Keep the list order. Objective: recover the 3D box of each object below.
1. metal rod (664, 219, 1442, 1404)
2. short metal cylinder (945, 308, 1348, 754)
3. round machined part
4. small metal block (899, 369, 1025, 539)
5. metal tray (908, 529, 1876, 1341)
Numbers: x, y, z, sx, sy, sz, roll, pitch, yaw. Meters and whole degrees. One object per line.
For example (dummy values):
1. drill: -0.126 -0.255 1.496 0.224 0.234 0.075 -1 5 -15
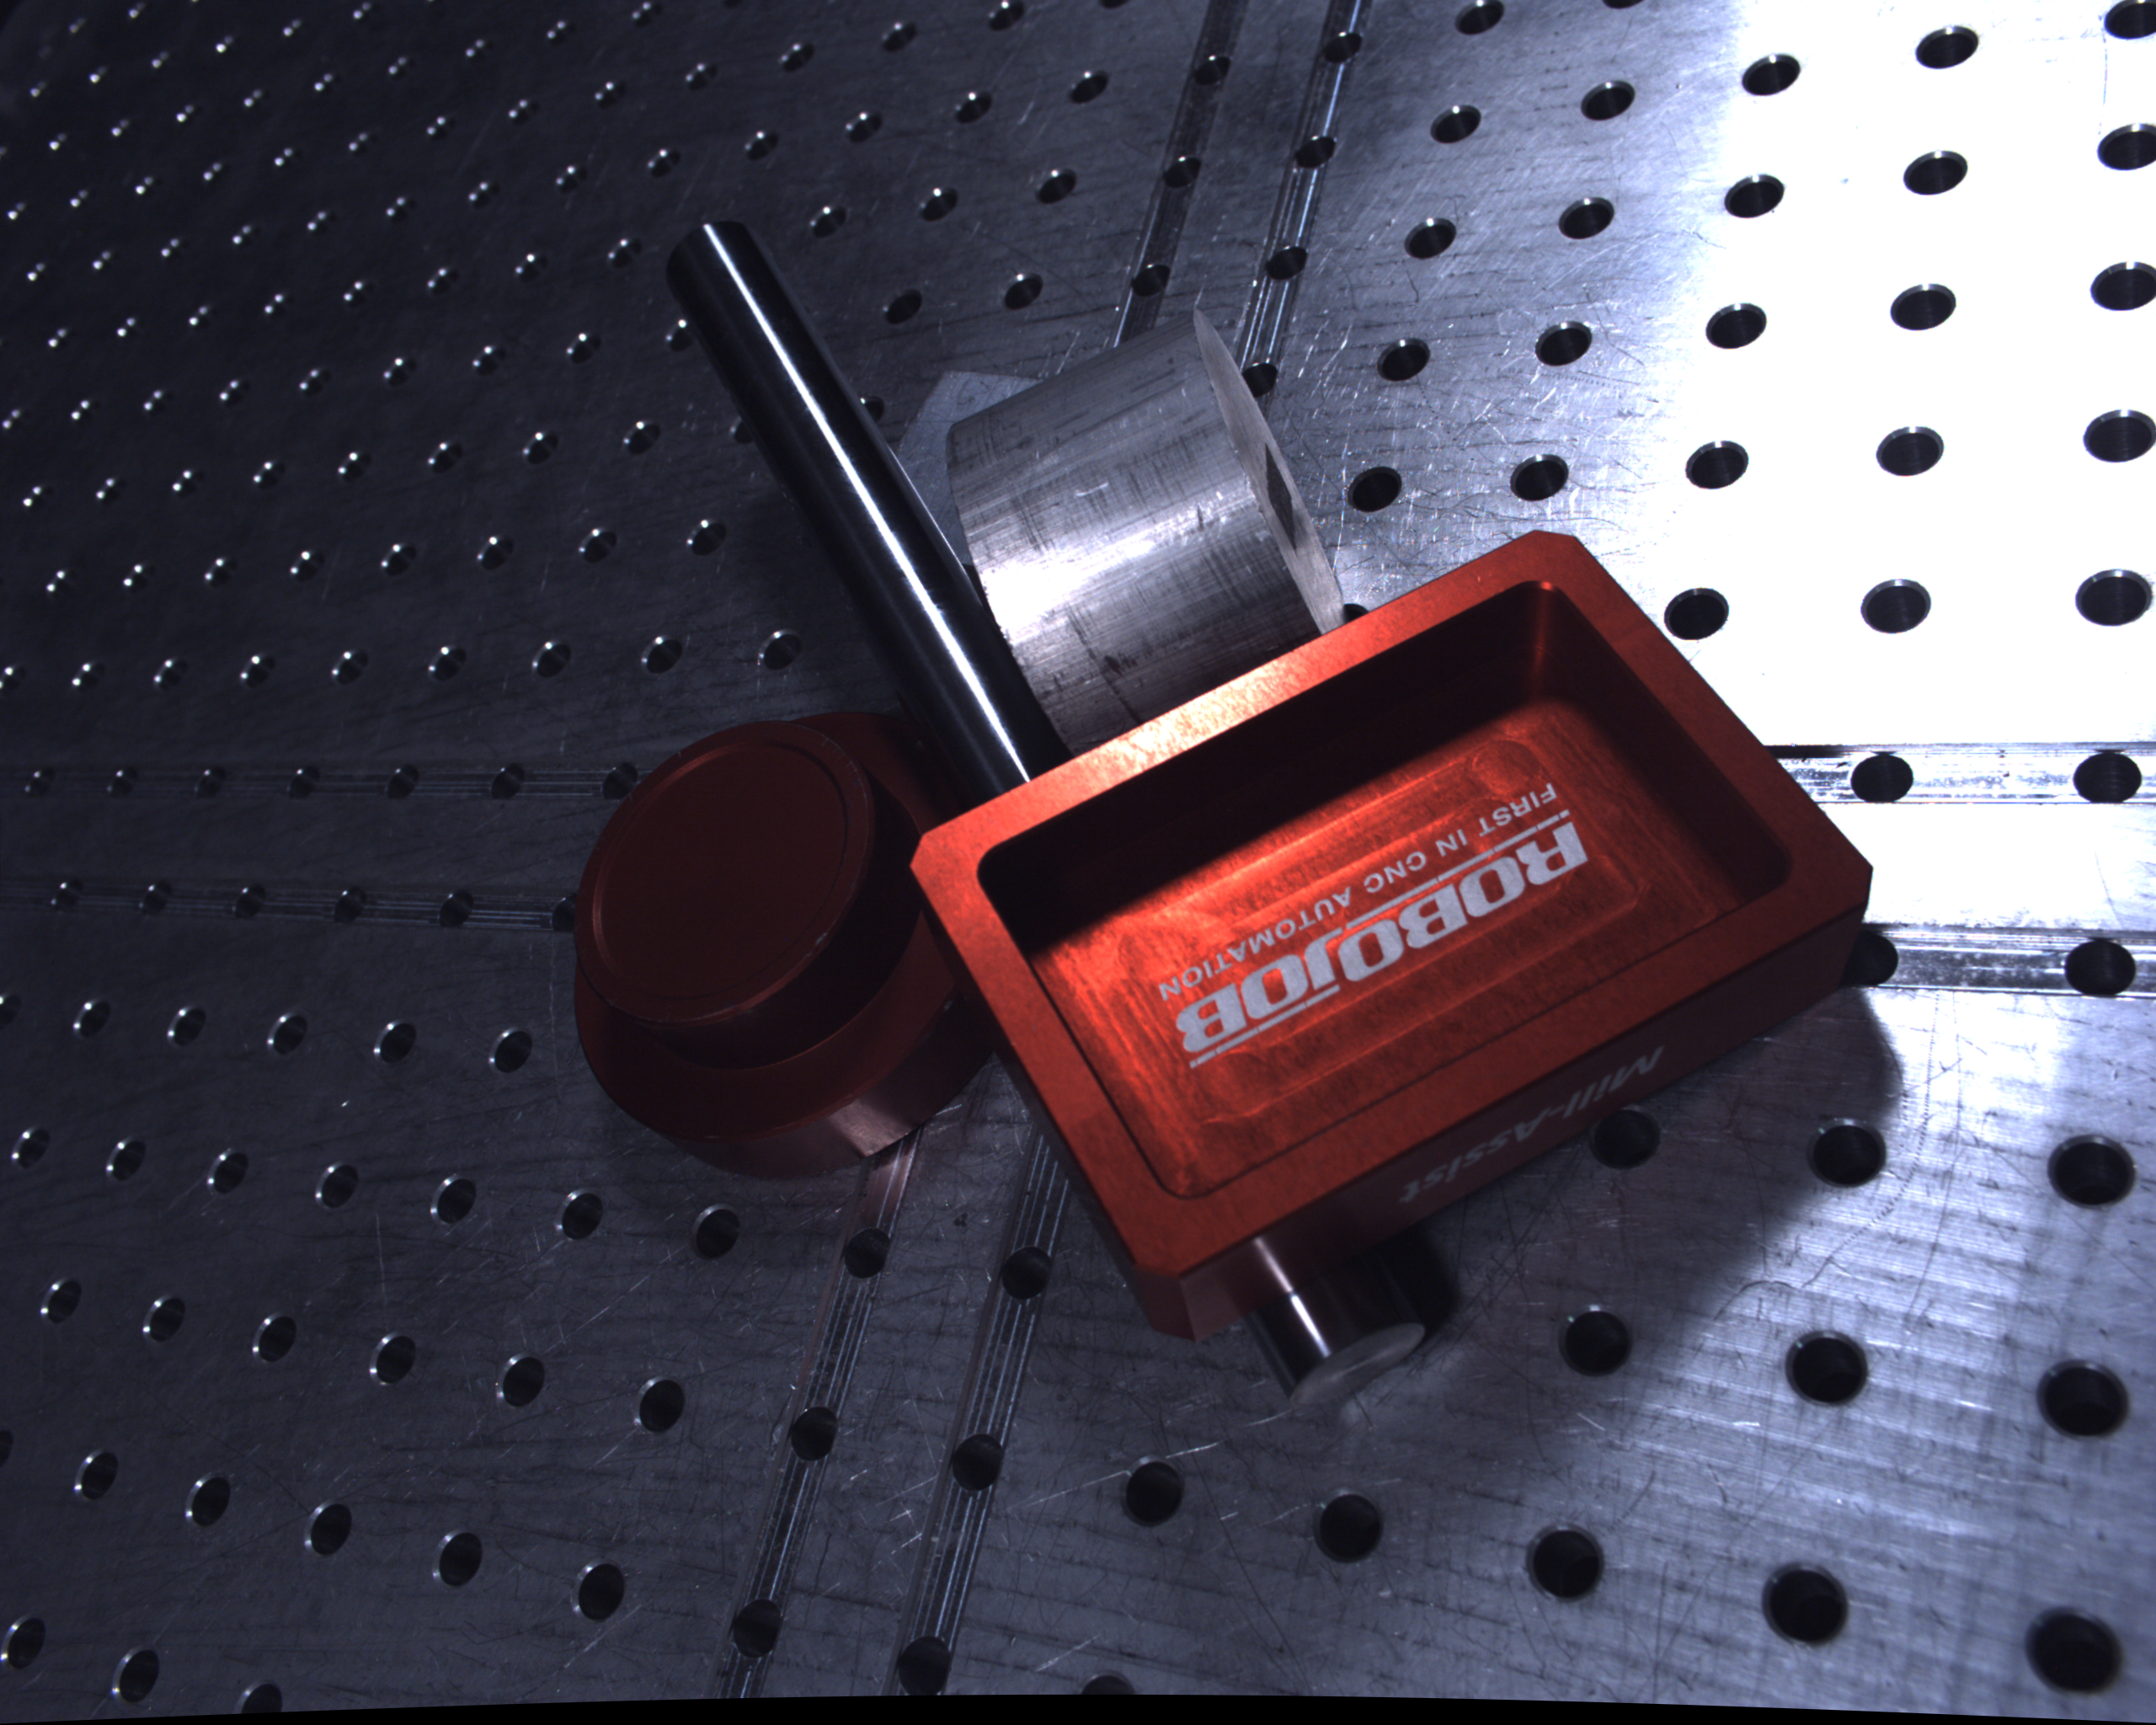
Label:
1. metal rod: -0.019 -0.030 0.413 0.025 0.025 0.299 -34 59 5
2. short metal cylinder: 0.016 -0.058 0.399 0.050 0.080 0.080 -23 54 14
3. round machined part: -0.062 0.010 0.421 0.098 0.042 0.098 -13 56 20
4. small metal block: -0.016 -0.081 0.465 0.050 0.025 0.050 14 69 33
5. metal tray: 0.050 0.008 0.346 0.131 0.030 0.090 -27 59 -9
